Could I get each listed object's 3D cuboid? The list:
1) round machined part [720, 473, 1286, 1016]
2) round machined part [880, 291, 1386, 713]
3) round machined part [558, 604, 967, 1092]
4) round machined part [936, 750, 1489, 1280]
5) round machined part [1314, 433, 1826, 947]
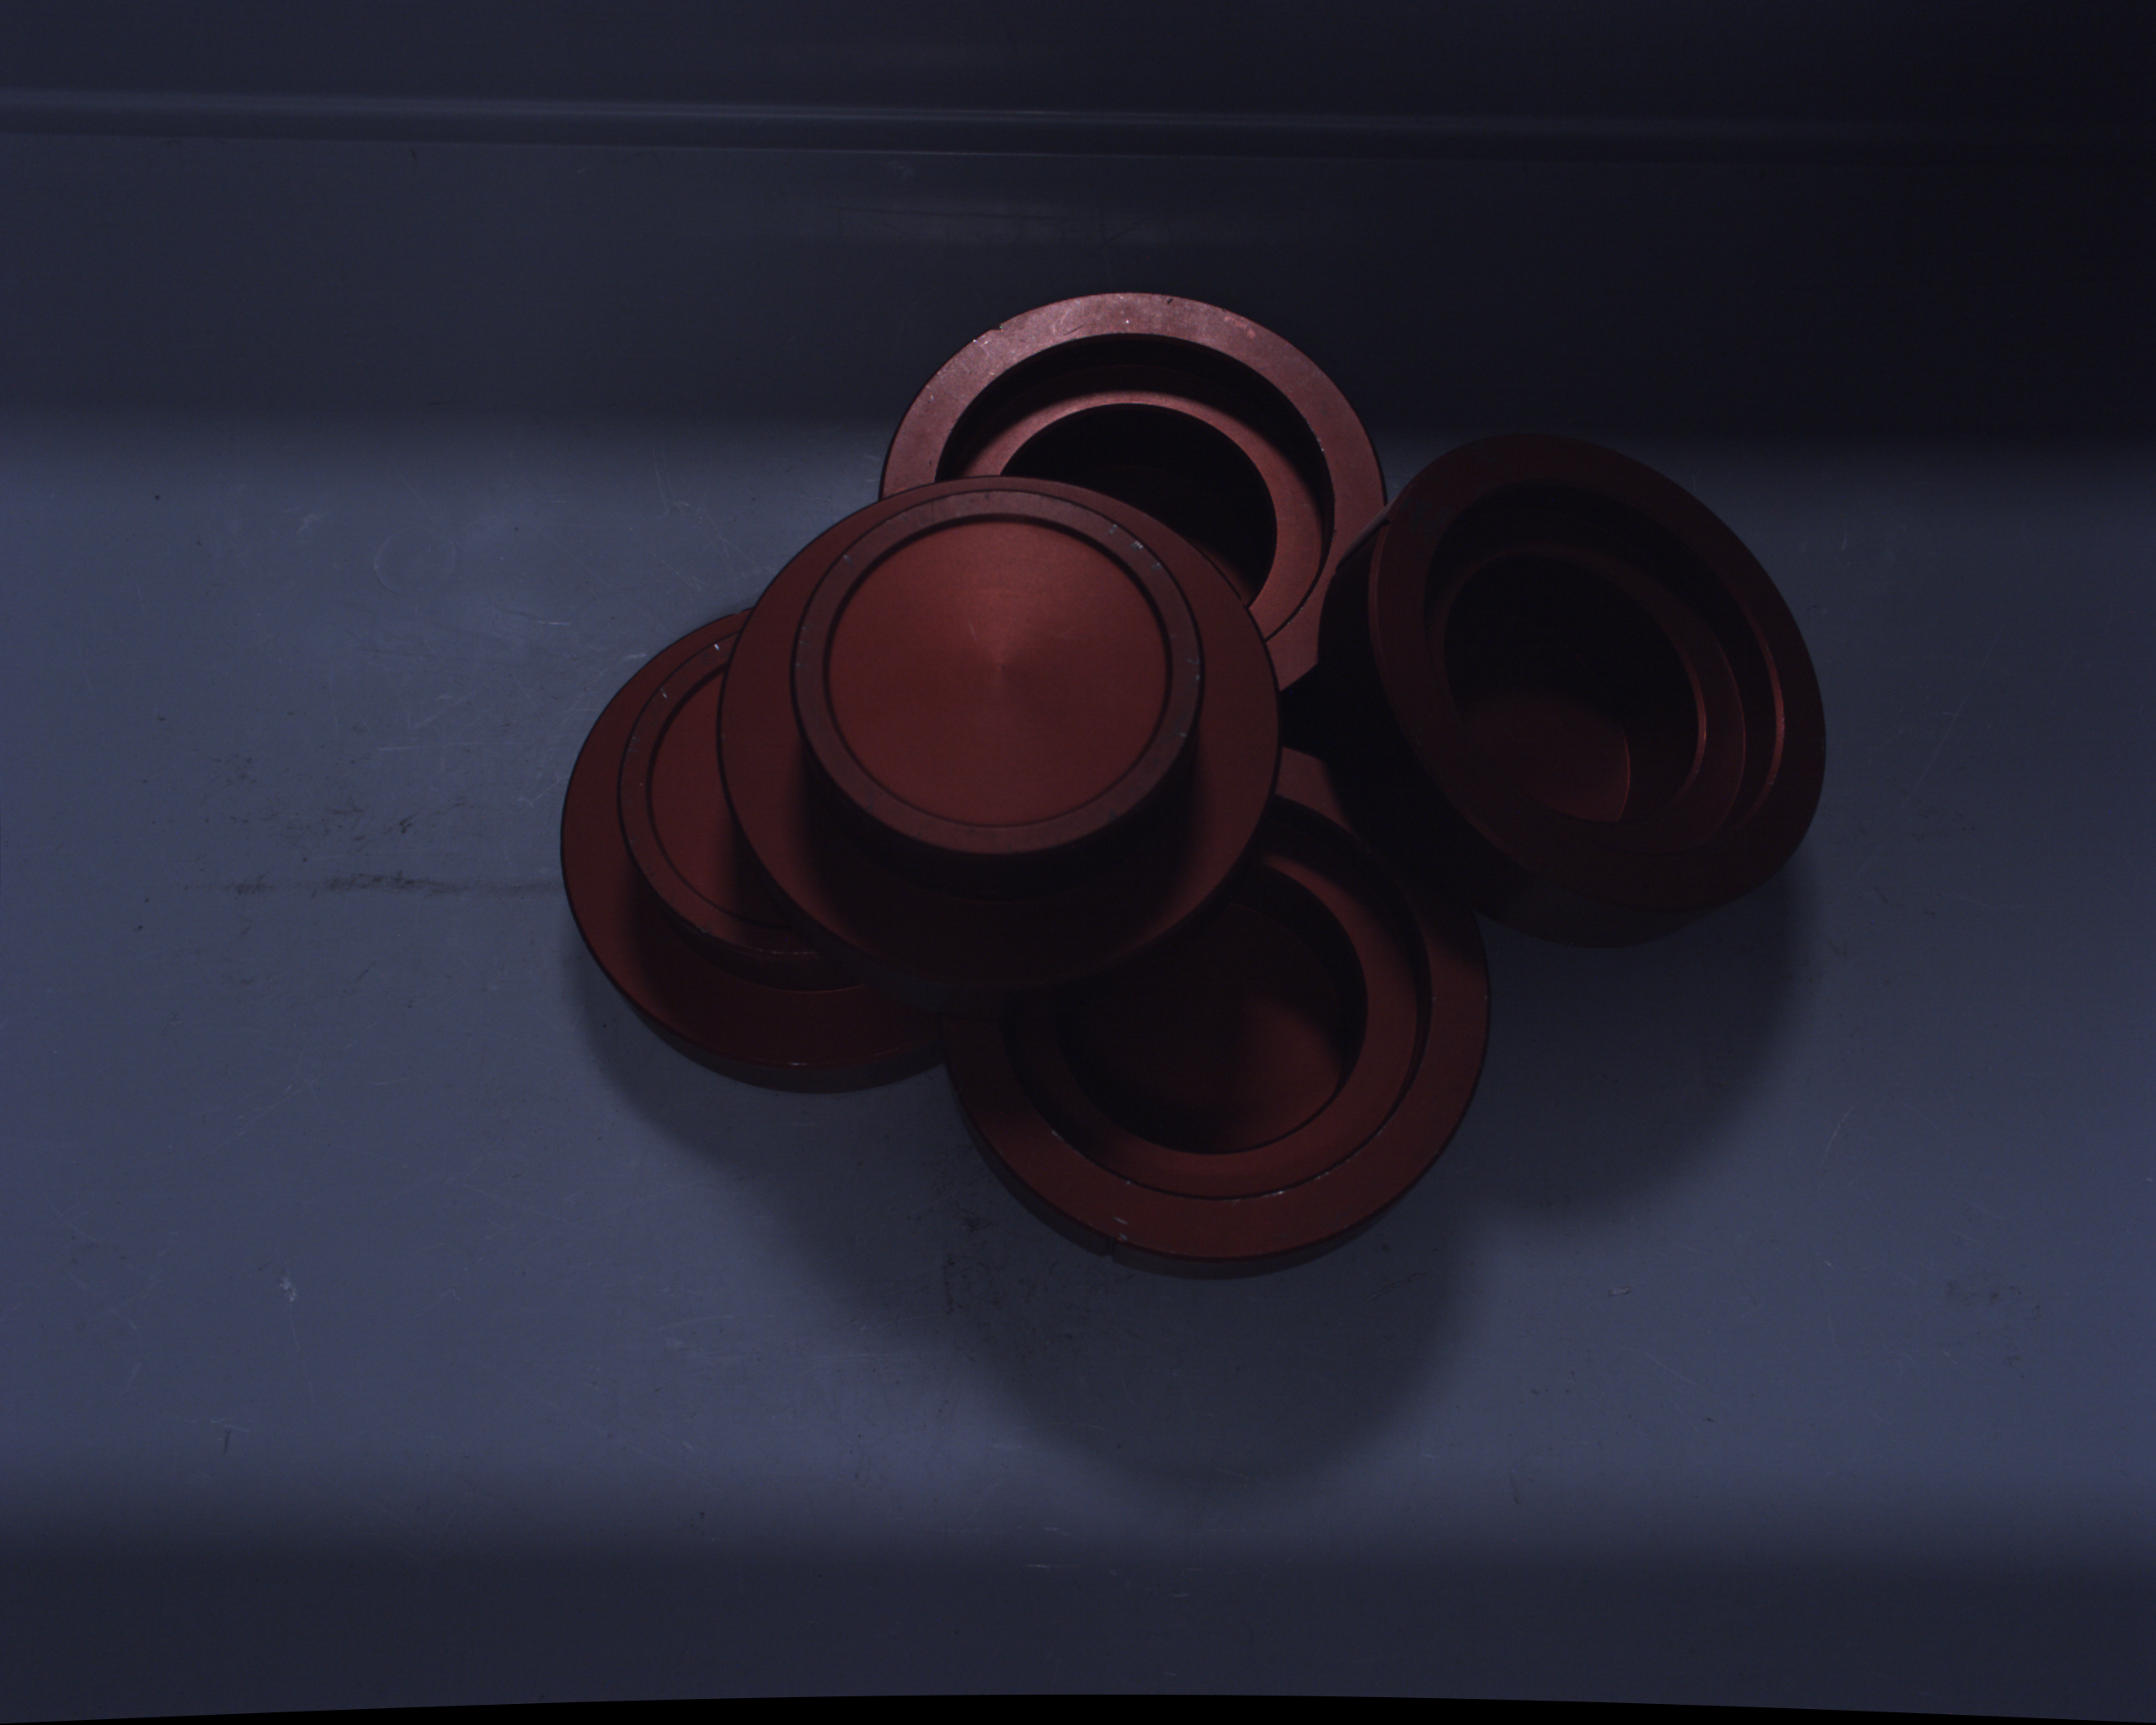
[{"bbox_3d":[-0.013,-0.026,0.362,0.099,0.042,0.098,0,70,-1],"label":"round machined part"},{"bbox_3d":[0.011,-0.063,0.422,0.099,0.042,0.098,0,70,-1],"label":"round machined part"},{"bbox_3d":[-0.050,-0.008,0.399,0.099,0.042,0.098,0,70,-1],"label":"round machined part"},{"bbox_3d":[0.024,0.029,0.388,0.099,0.042,0.098,0,70,-1],"label":"round machined part"},{"bbox_3d":[0.089,-0.030,0.399,0.099,0.042,0.098,8,66,-19],"label":"round machined part"}]
